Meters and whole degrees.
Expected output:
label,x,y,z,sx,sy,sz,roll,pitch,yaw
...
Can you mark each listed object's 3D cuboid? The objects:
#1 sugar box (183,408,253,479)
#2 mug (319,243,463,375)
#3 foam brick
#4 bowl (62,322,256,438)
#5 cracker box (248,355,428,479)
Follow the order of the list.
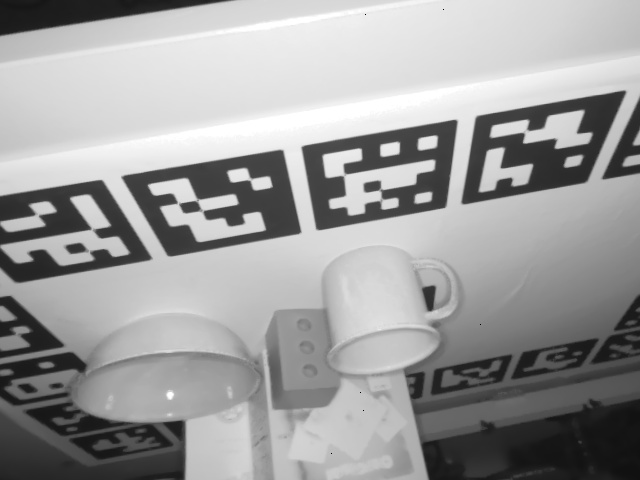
label,x,y,z,sx,sy,sz,roll,pitch,yaw
sugar box,-0.090,0.237,0.701,0.094,0.177,0.044,3,142,-18
mug,0.057,0.052,0.565,0.117,0.082,0.093,-17,152,5
foam brick,-0.016,0.112,0.644,0.053,0.078,0.051,-1,144,-14
bowl,-0.139,0.118,0.612,0.162,0.055,0.160,-8,143,-5
cracker box,0.021,0.224,0.684,0.166,0.215,0.071,9,142,-24
